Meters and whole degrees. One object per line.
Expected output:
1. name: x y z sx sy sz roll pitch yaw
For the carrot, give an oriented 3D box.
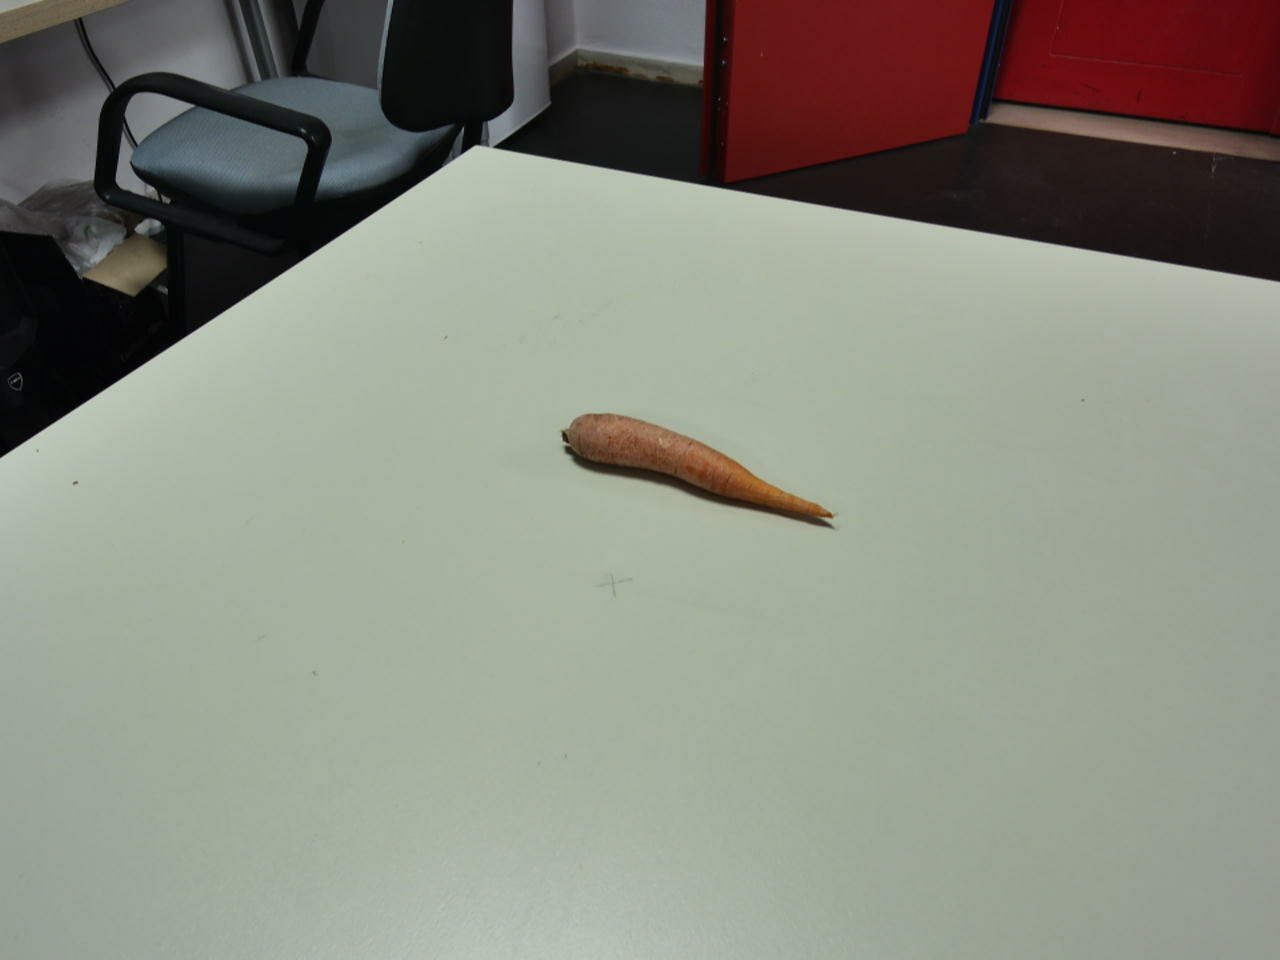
1. carrot: 0.029 -0.010 0.548 0.163 0.029 0.031 16 41 20
